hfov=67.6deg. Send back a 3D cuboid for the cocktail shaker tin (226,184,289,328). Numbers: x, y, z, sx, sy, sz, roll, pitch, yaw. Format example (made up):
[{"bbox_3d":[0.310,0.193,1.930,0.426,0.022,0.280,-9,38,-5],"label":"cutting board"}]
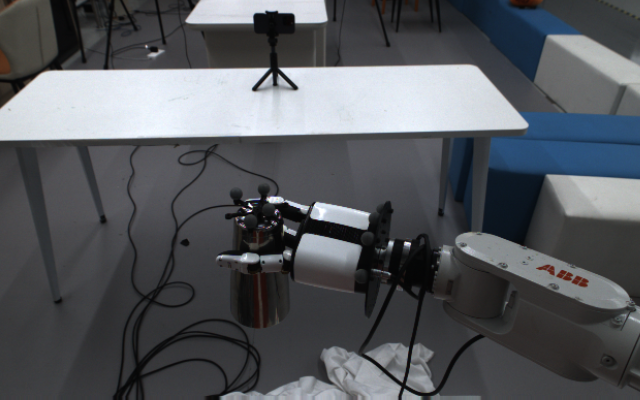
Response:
[{"bbox_3d":[-0.086,0.090,0.704,0.093,0.170,0.093,2,33,-2],"label":"cocktail shaker tin"}]
